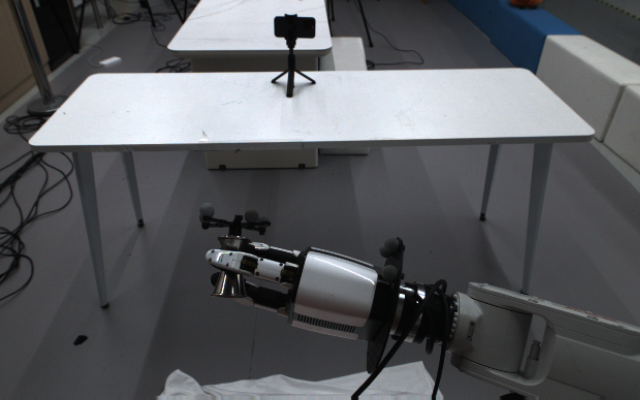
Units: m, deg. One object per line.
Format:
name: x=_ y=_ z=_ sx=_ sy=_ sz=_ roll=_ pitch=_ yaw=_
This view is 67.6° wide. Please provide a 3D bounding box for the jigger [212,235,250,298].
jigger: x=-0.103 y=0.078 z=0.565 sx=0.043 sy=0.043 sz=0.071 roll=3 pitch=76 yaw=1
